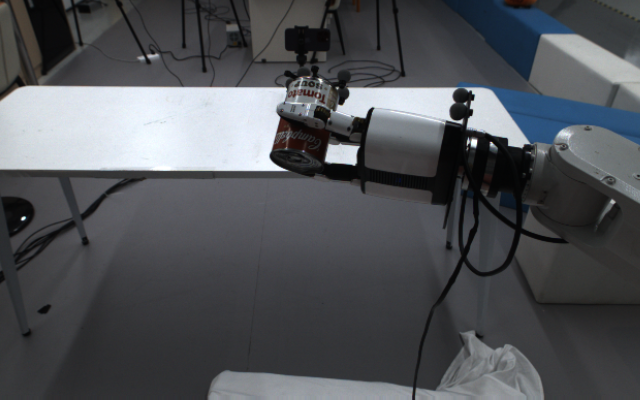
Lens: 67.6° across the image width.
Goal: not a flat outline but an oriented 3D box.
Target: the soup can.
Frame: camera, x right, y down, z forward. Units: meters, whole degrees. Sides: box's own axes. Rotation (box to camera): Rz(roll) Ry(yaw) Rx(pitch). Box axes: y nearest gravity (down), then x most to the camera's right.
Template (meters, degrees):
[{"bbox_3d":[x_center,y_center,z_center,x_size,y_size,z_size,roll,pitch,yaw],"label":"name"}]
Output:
[{"bbox_3d":[-0.017,-0.093,0.600,0.067,0.067,0.101,9,72,10],"label":"soup can"}]
